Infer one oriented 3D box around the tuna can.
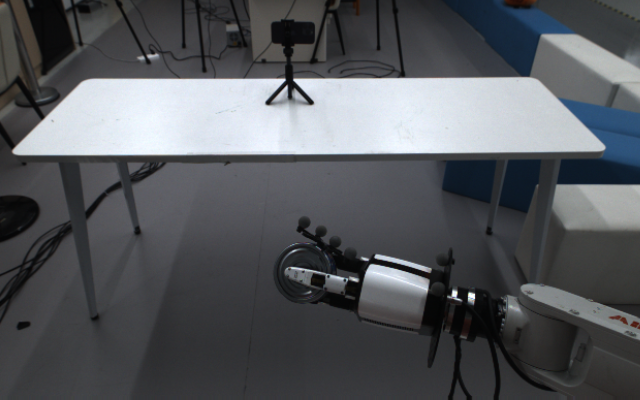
[{"bbox_3d":[-0.018,0.108,0.676,0.085,0.085,0.034,12,-5,15],"label":"tuna can"}]
